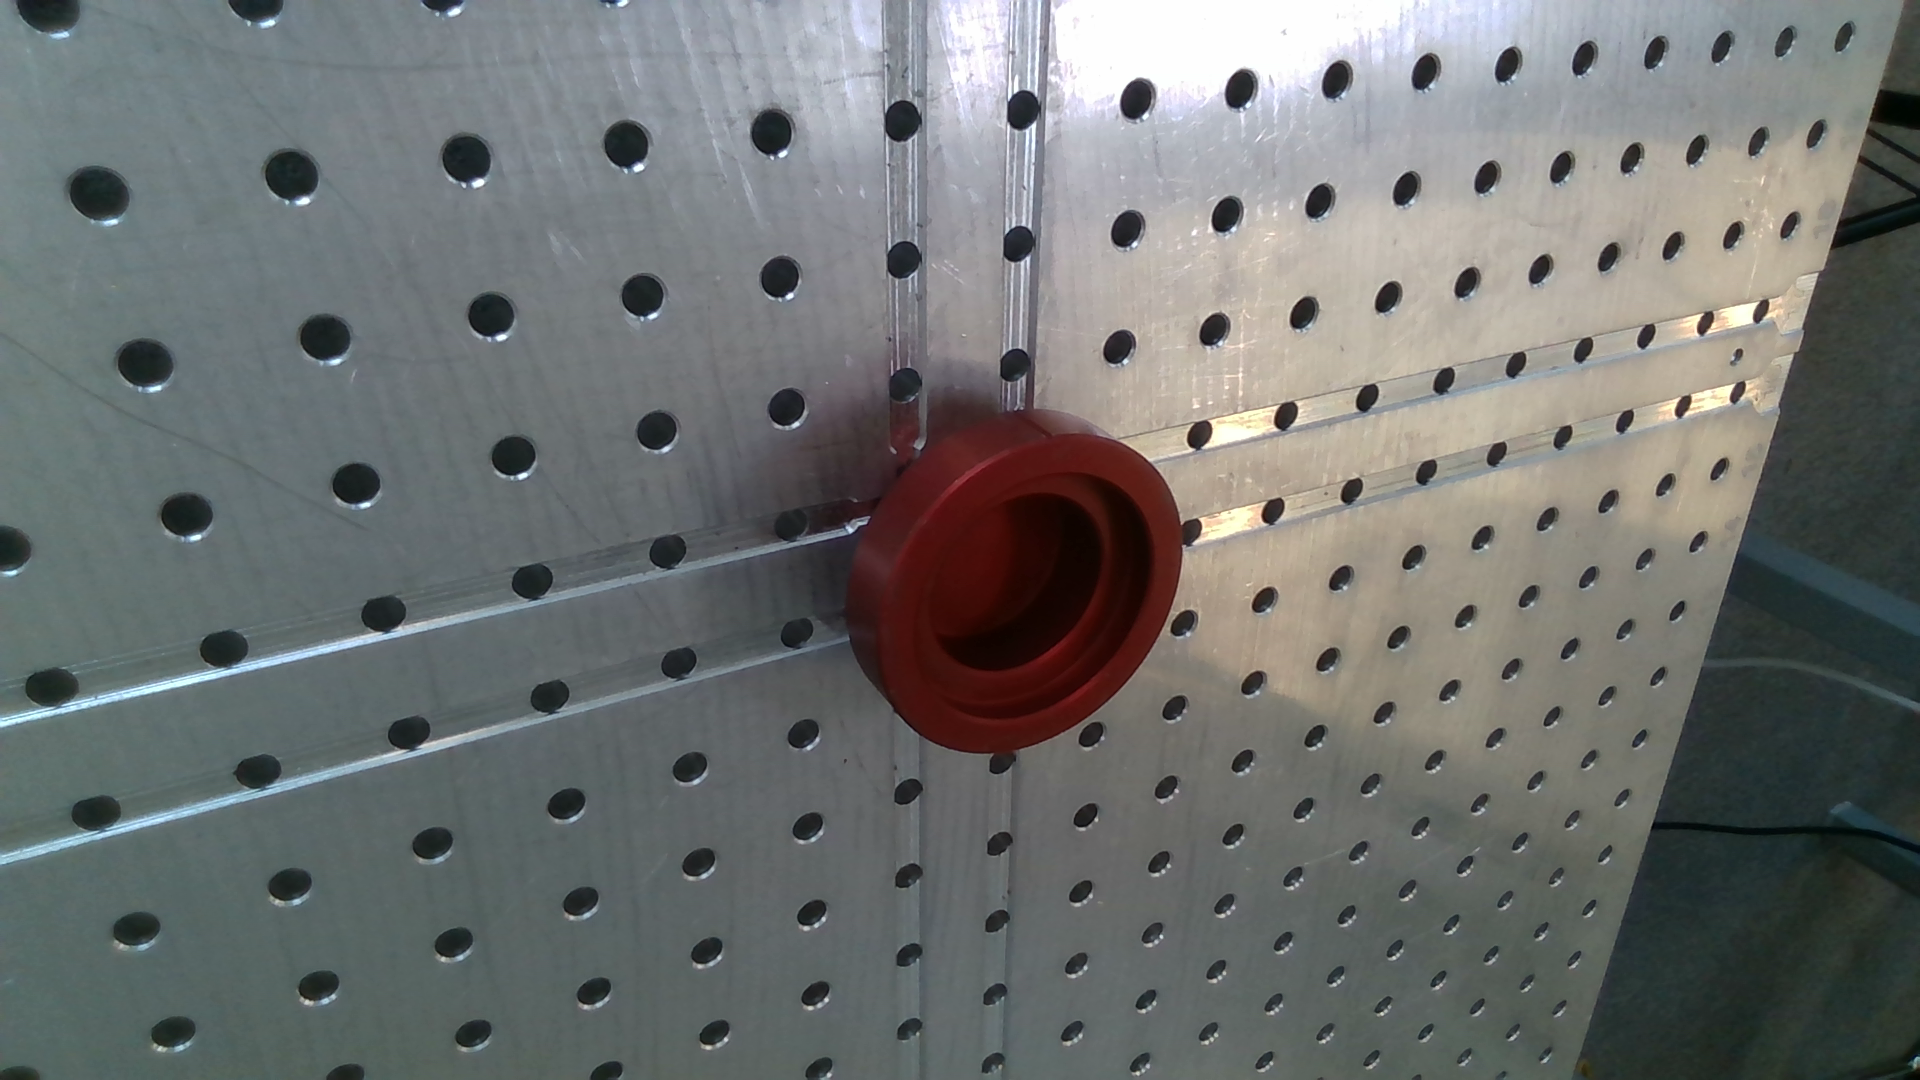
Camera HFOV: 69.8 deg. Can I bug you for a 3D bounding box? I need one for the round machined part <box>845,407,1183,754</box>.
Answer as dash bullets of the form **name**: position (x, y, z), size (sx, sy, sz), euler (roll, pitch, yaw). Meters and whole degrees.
- **round machined part**: position (0.012, 0.008, 0.392), size (0.098, 0.042, 0.098), euler (-14, 122, -25)
